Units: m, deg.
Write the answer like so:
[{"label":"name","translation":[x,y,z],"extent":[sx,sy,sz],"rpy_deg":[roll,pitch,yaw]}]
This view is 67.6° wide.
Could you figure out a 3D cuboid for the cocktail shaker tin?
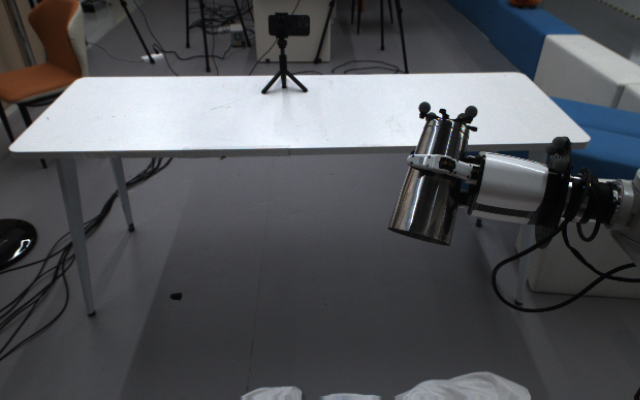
[{"label":"cocktail shaker tin","translation":[0.165,-0.029,0.709],"extent":[0.093,0.170,0.093],"rpy_deg":[16,-6,2]}]
